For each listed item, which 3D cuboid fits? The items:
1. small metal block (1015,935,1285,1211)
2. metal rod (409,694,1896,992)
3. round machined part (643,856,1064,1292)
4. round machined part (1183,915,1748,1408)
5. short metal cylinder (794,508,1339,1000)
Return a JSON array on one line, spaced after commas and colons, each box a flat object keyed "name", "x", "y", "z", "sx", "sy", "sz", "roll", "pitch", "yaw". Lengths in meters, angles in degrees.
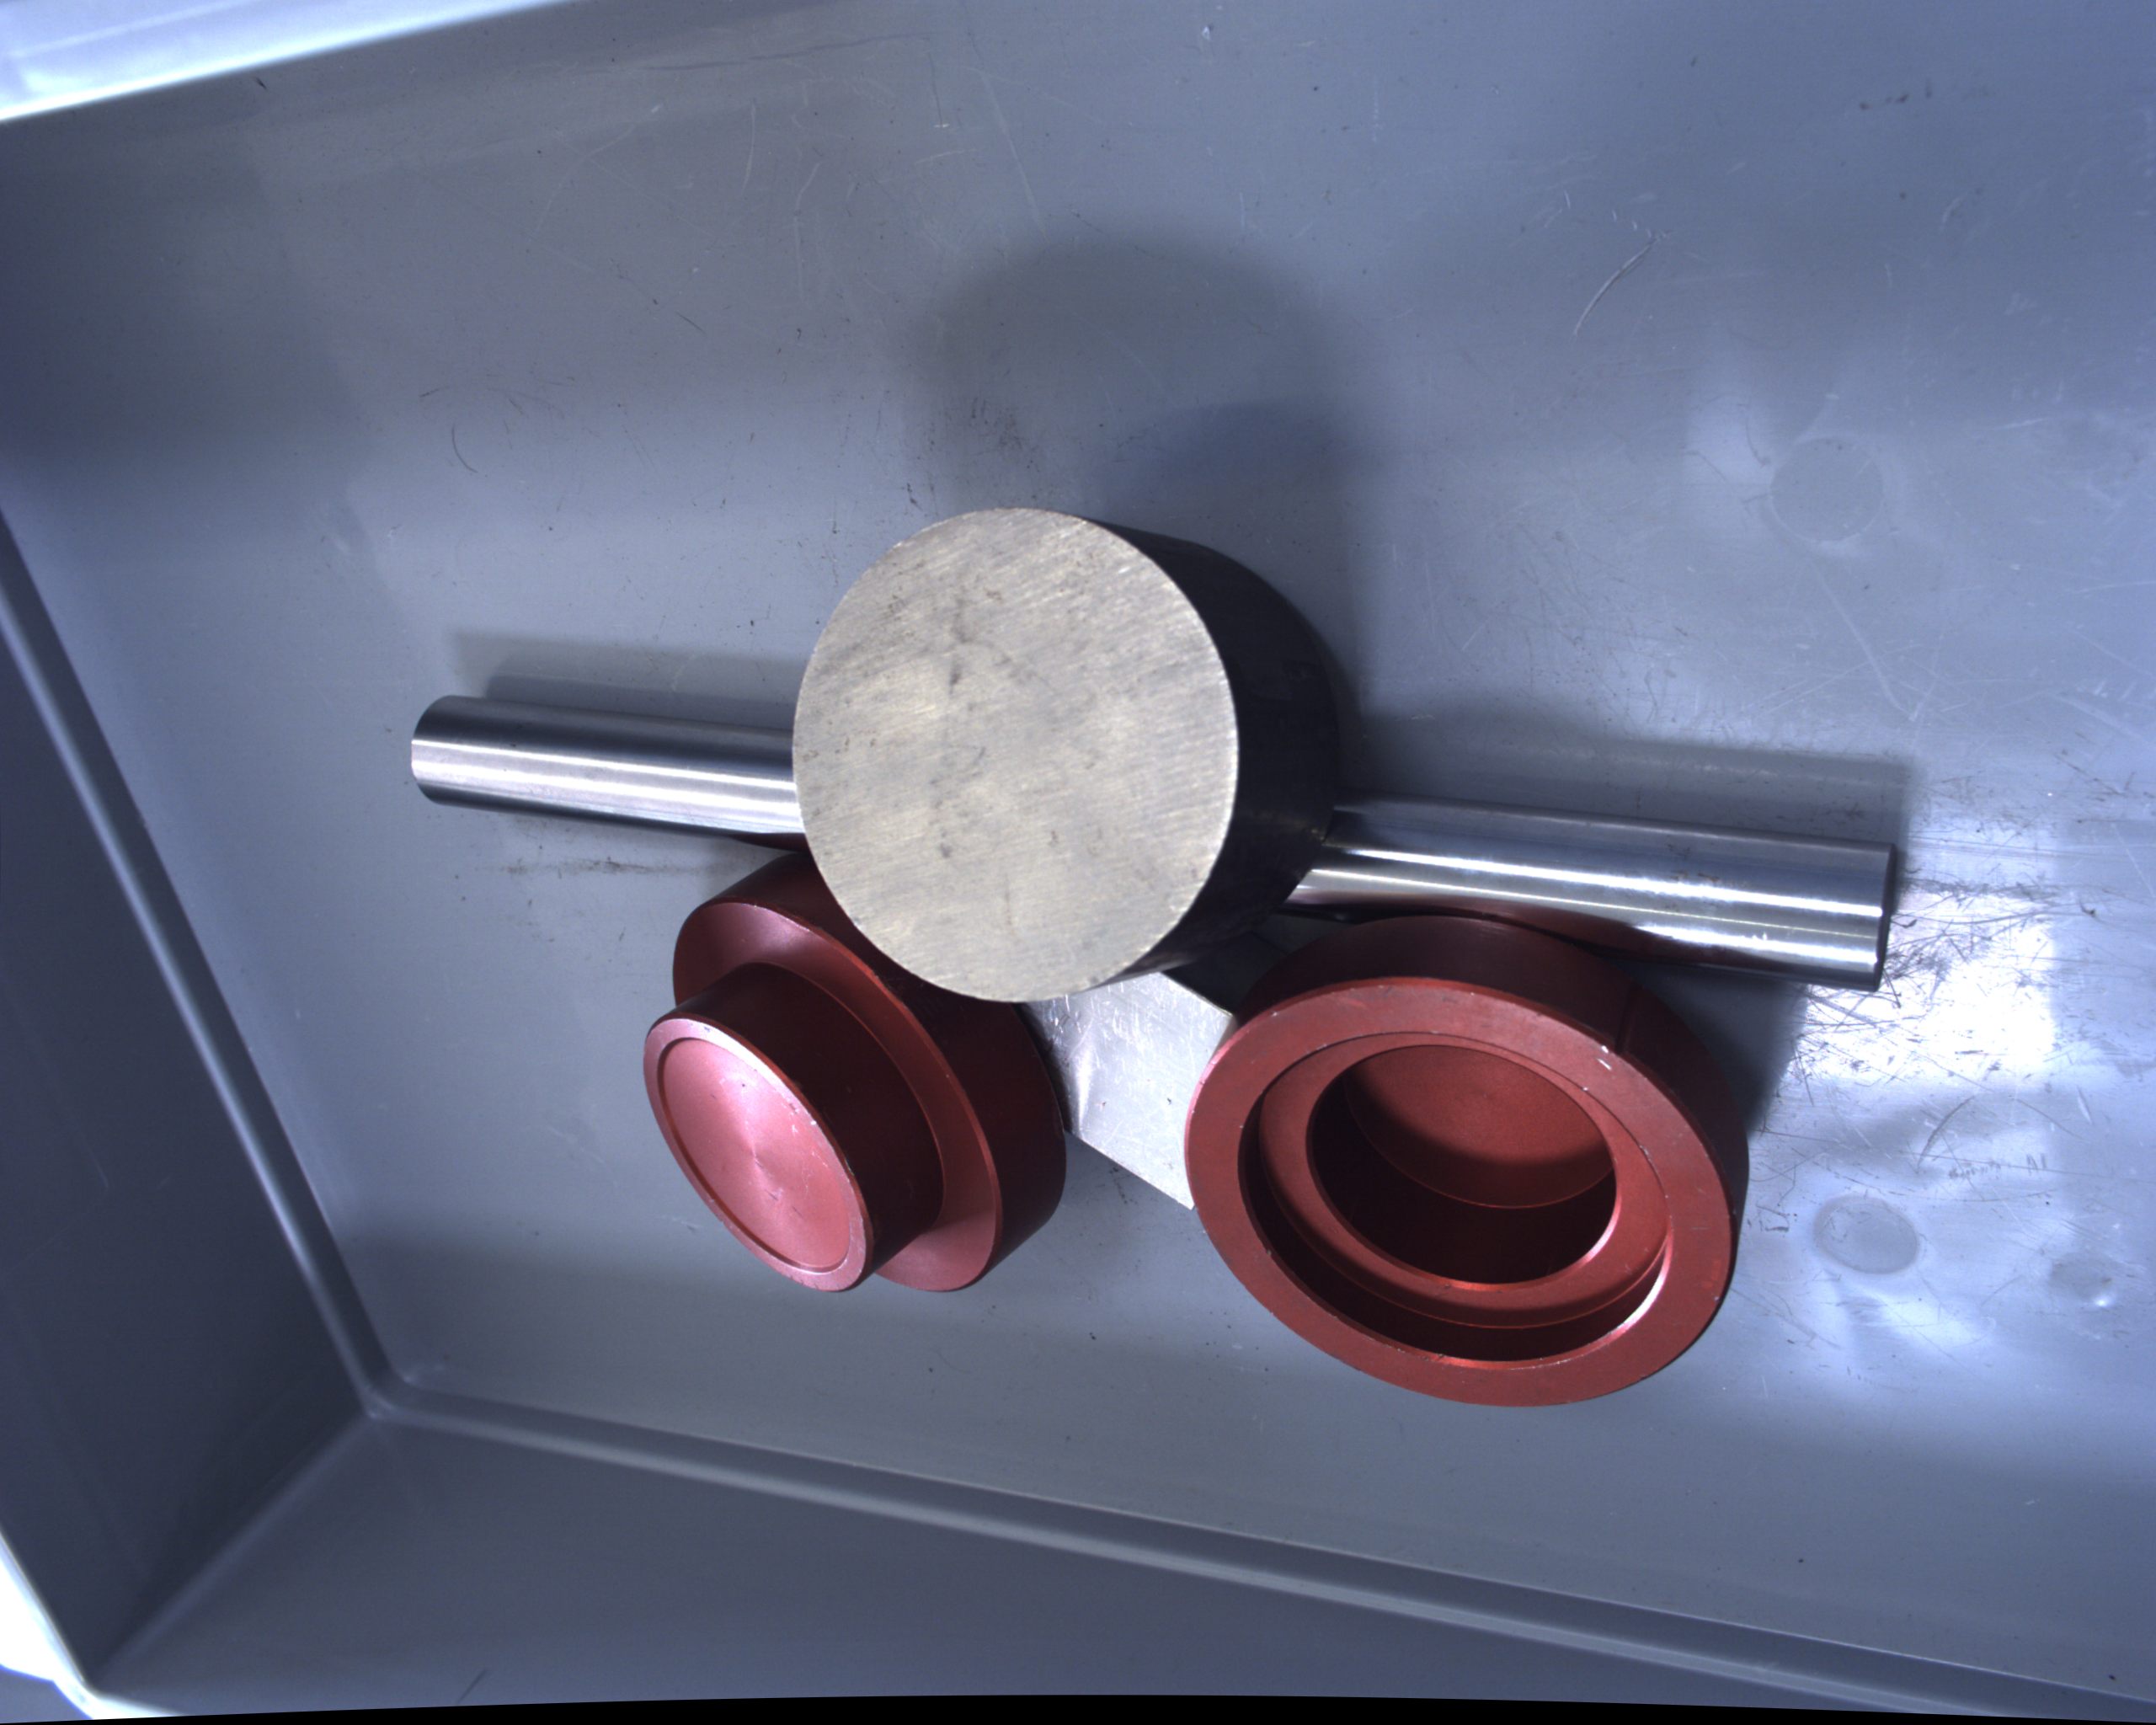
[{"name": "small metal block", "x": 0.016, "y": 0.034, "z": 0.419, "sx": 0.050, "sy": 0.025, "sz": 0.050, "roll": 32, "pitch": 129, "yaw": 7}, {"name": "metal rod", "x": -0.004, "y": -0.008, "z": 0.403, "sx": 0.301, "sy": 0.025, "sz": 0.025, "roll": 7, "pitch": 122, "yaw": 24}, {"name": "round machined part", "x": -0.053, "y": 0.050, "z": 0.437, "sx": 0.098, "sy": 0.042, "sz": 0.097, "roll": 29, "pitch": 137, "yaw": 31}, {"name": "round machined part", "x": 0.073, "y": 0.050, "z": 0.385, "sx": 0.098, "sy": 0.042, "sz": 0.097, "roll": 12, "pitch": 125, "yaw": 17}, {"name": "short metal cylinder", "x": -0.001, "y": -0.019, "z": 0.360, "sx": 0.080, "sy": 0.050, "sz": 0.079, "roll": 1, "pitch": 94, "yaw": 25}]
